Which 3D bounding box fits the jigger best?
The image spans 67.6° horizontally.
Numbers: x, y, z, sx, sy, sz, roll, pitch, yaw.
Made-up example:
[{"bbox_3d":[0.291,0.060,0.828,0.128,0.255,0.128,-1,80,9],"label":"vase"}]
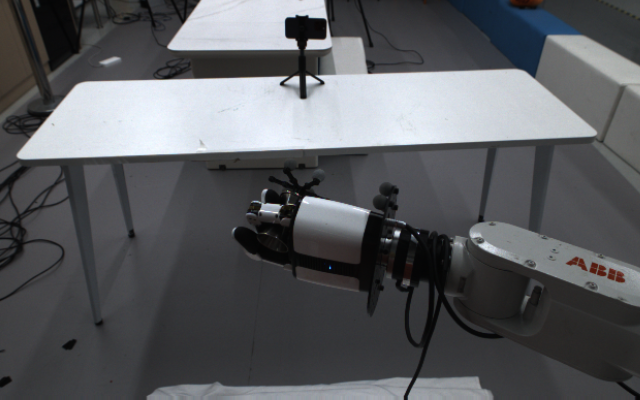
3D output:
[{"bbox_3d":[-0.045,0.025,0.612,0.043,0.043,0.071,15,58,18],"label":"jigger"}]
